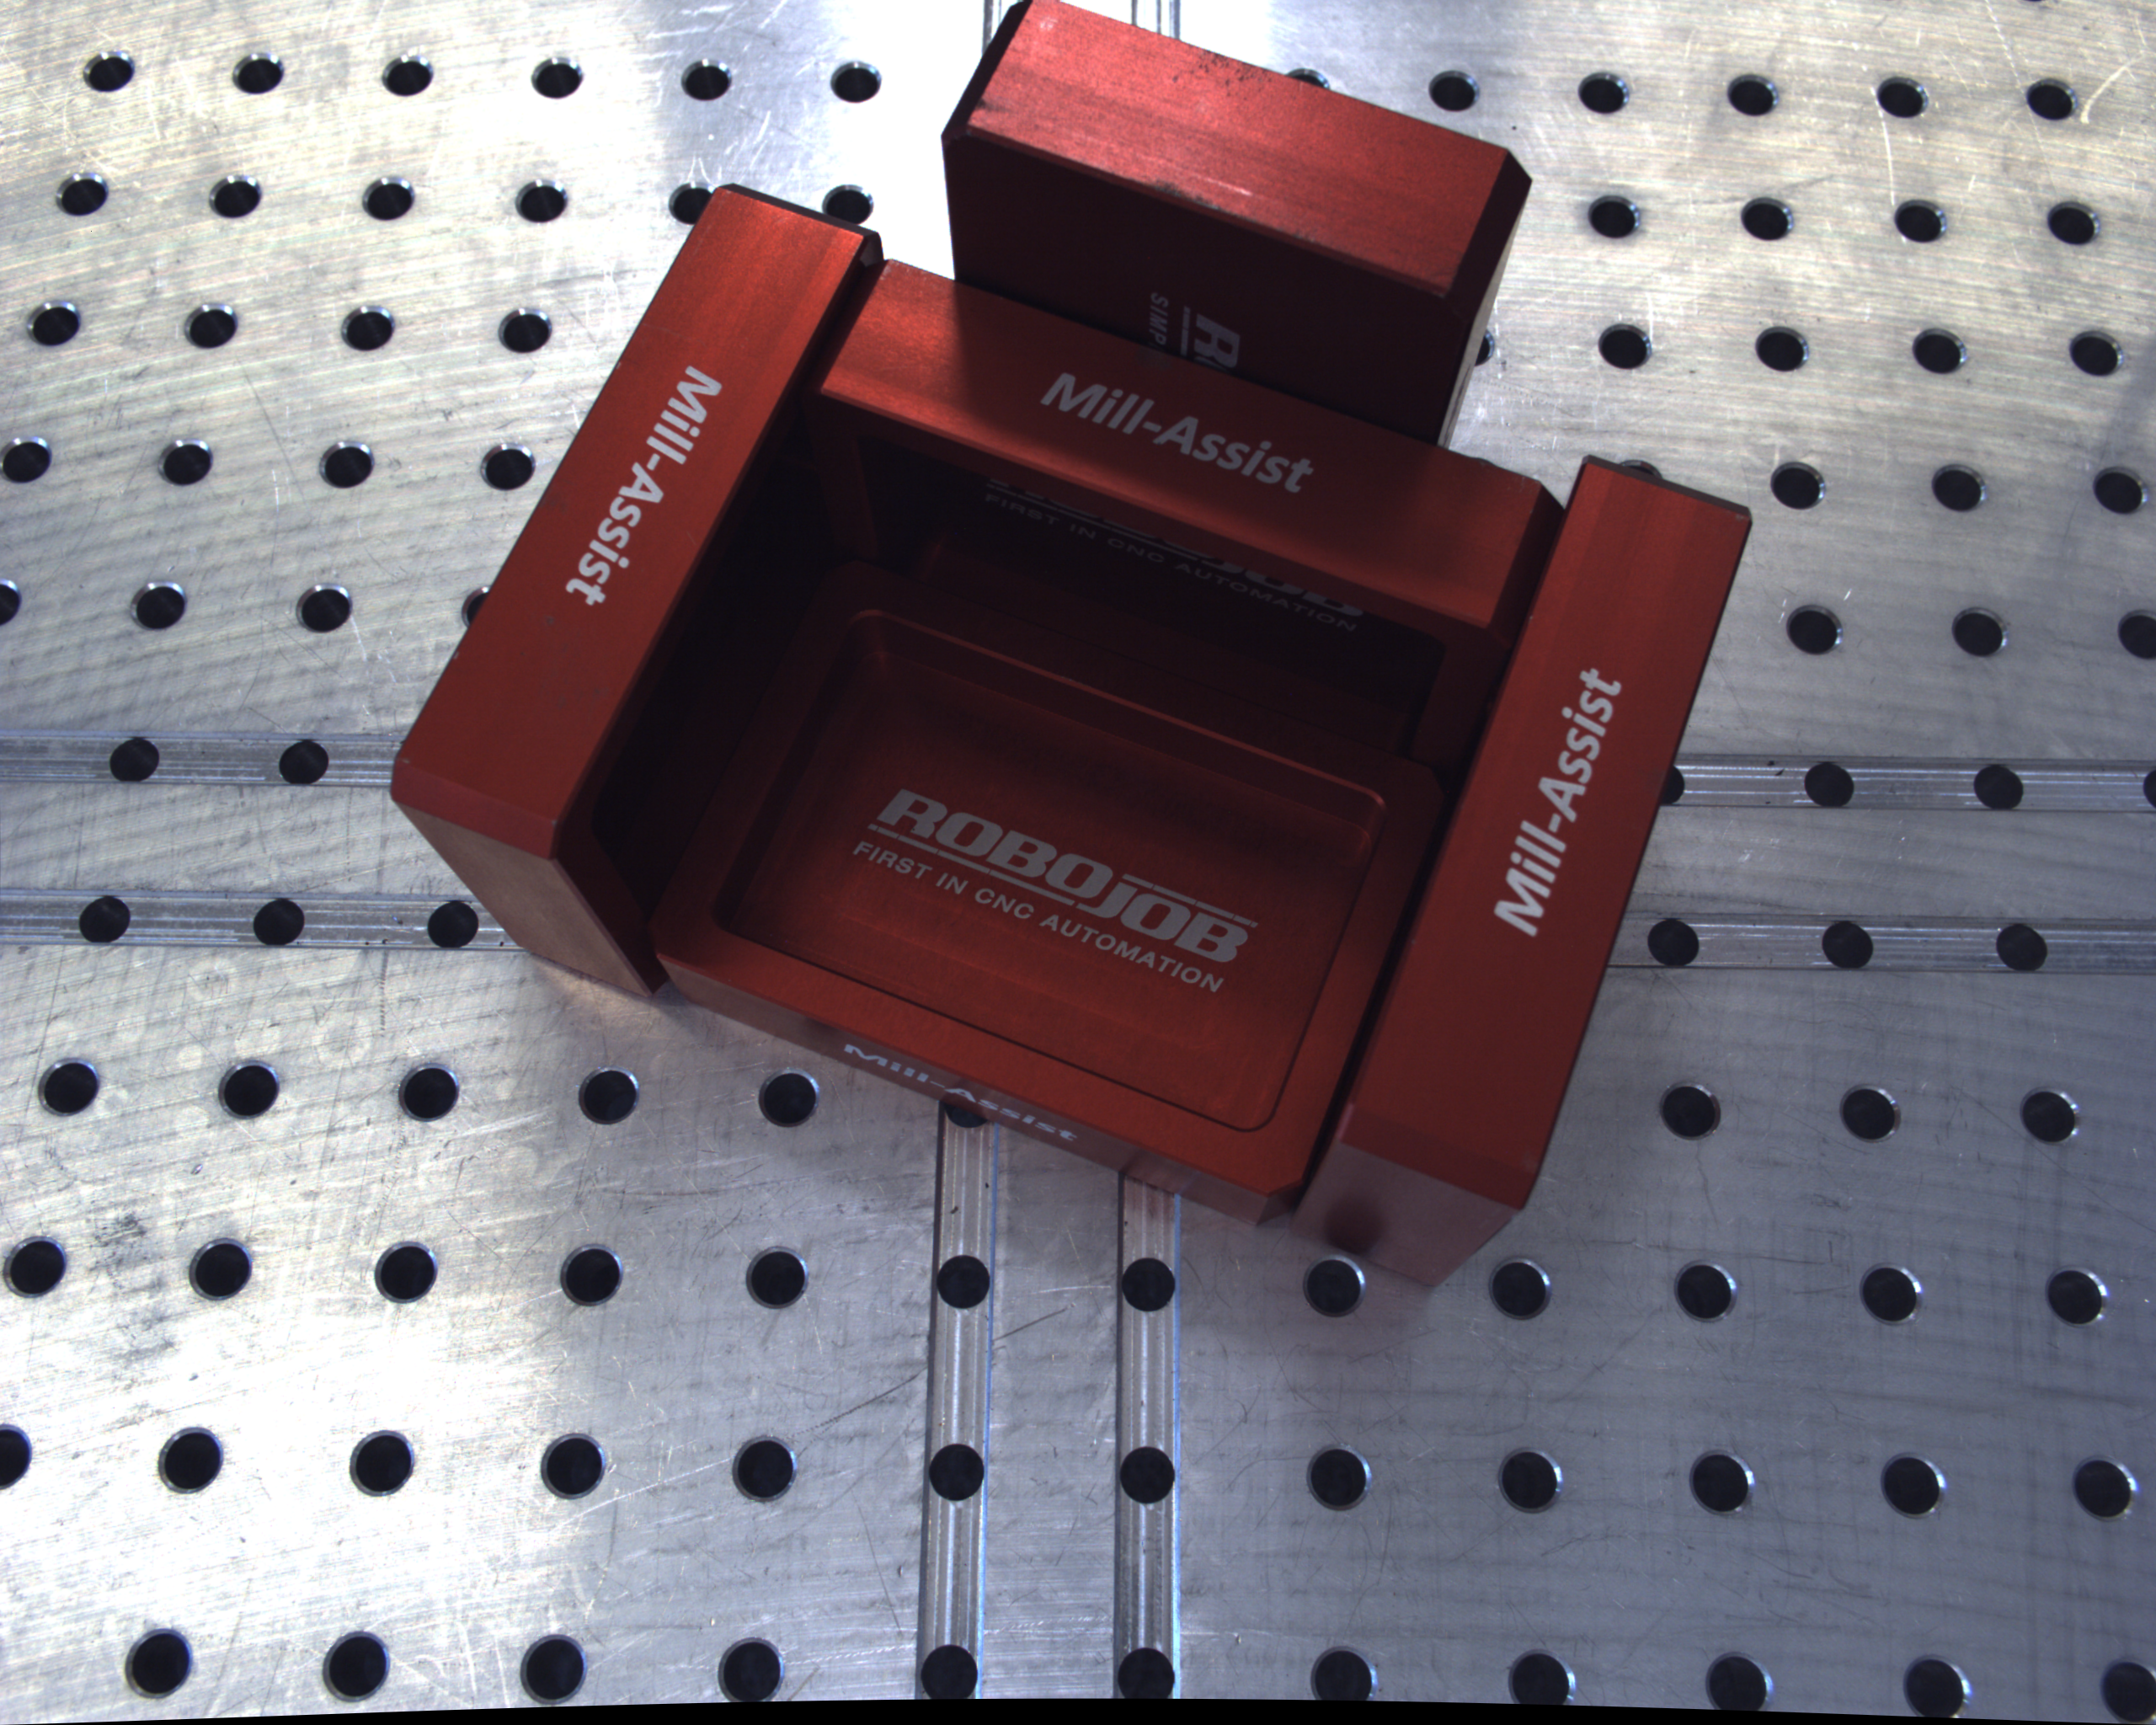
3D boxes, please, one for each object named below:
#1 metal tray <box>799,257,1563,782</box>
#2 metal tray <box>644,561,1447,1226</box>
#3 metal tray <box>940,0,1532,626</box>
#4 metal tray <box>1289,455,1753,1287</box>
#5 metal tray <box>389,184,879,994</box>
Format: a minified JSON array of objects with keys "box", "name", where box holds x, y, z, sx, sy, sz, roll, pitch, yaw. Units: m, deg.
[{"box":[0.017,-0.058,0.398,0.130,0.090,0.030,21,72,7],"name":"metal tray"},{"box":[-0.005,0.005,0.407,0.130,0.030,0.090,21,71,7],"name":"metal tray"},{"box":[0.025,-0.093,0.389,0.090,0.130,0.030,21,72,7],"name":"metal tray"},{"box":[0.078,0.005,0.375,0.030,0.090,0.130,21,71,7],"name":"metal tray"},{"box":[-0.074,-0.048,0.394,0.030,0.090,0.130,21,71,7],"name":"metal tray"}]
